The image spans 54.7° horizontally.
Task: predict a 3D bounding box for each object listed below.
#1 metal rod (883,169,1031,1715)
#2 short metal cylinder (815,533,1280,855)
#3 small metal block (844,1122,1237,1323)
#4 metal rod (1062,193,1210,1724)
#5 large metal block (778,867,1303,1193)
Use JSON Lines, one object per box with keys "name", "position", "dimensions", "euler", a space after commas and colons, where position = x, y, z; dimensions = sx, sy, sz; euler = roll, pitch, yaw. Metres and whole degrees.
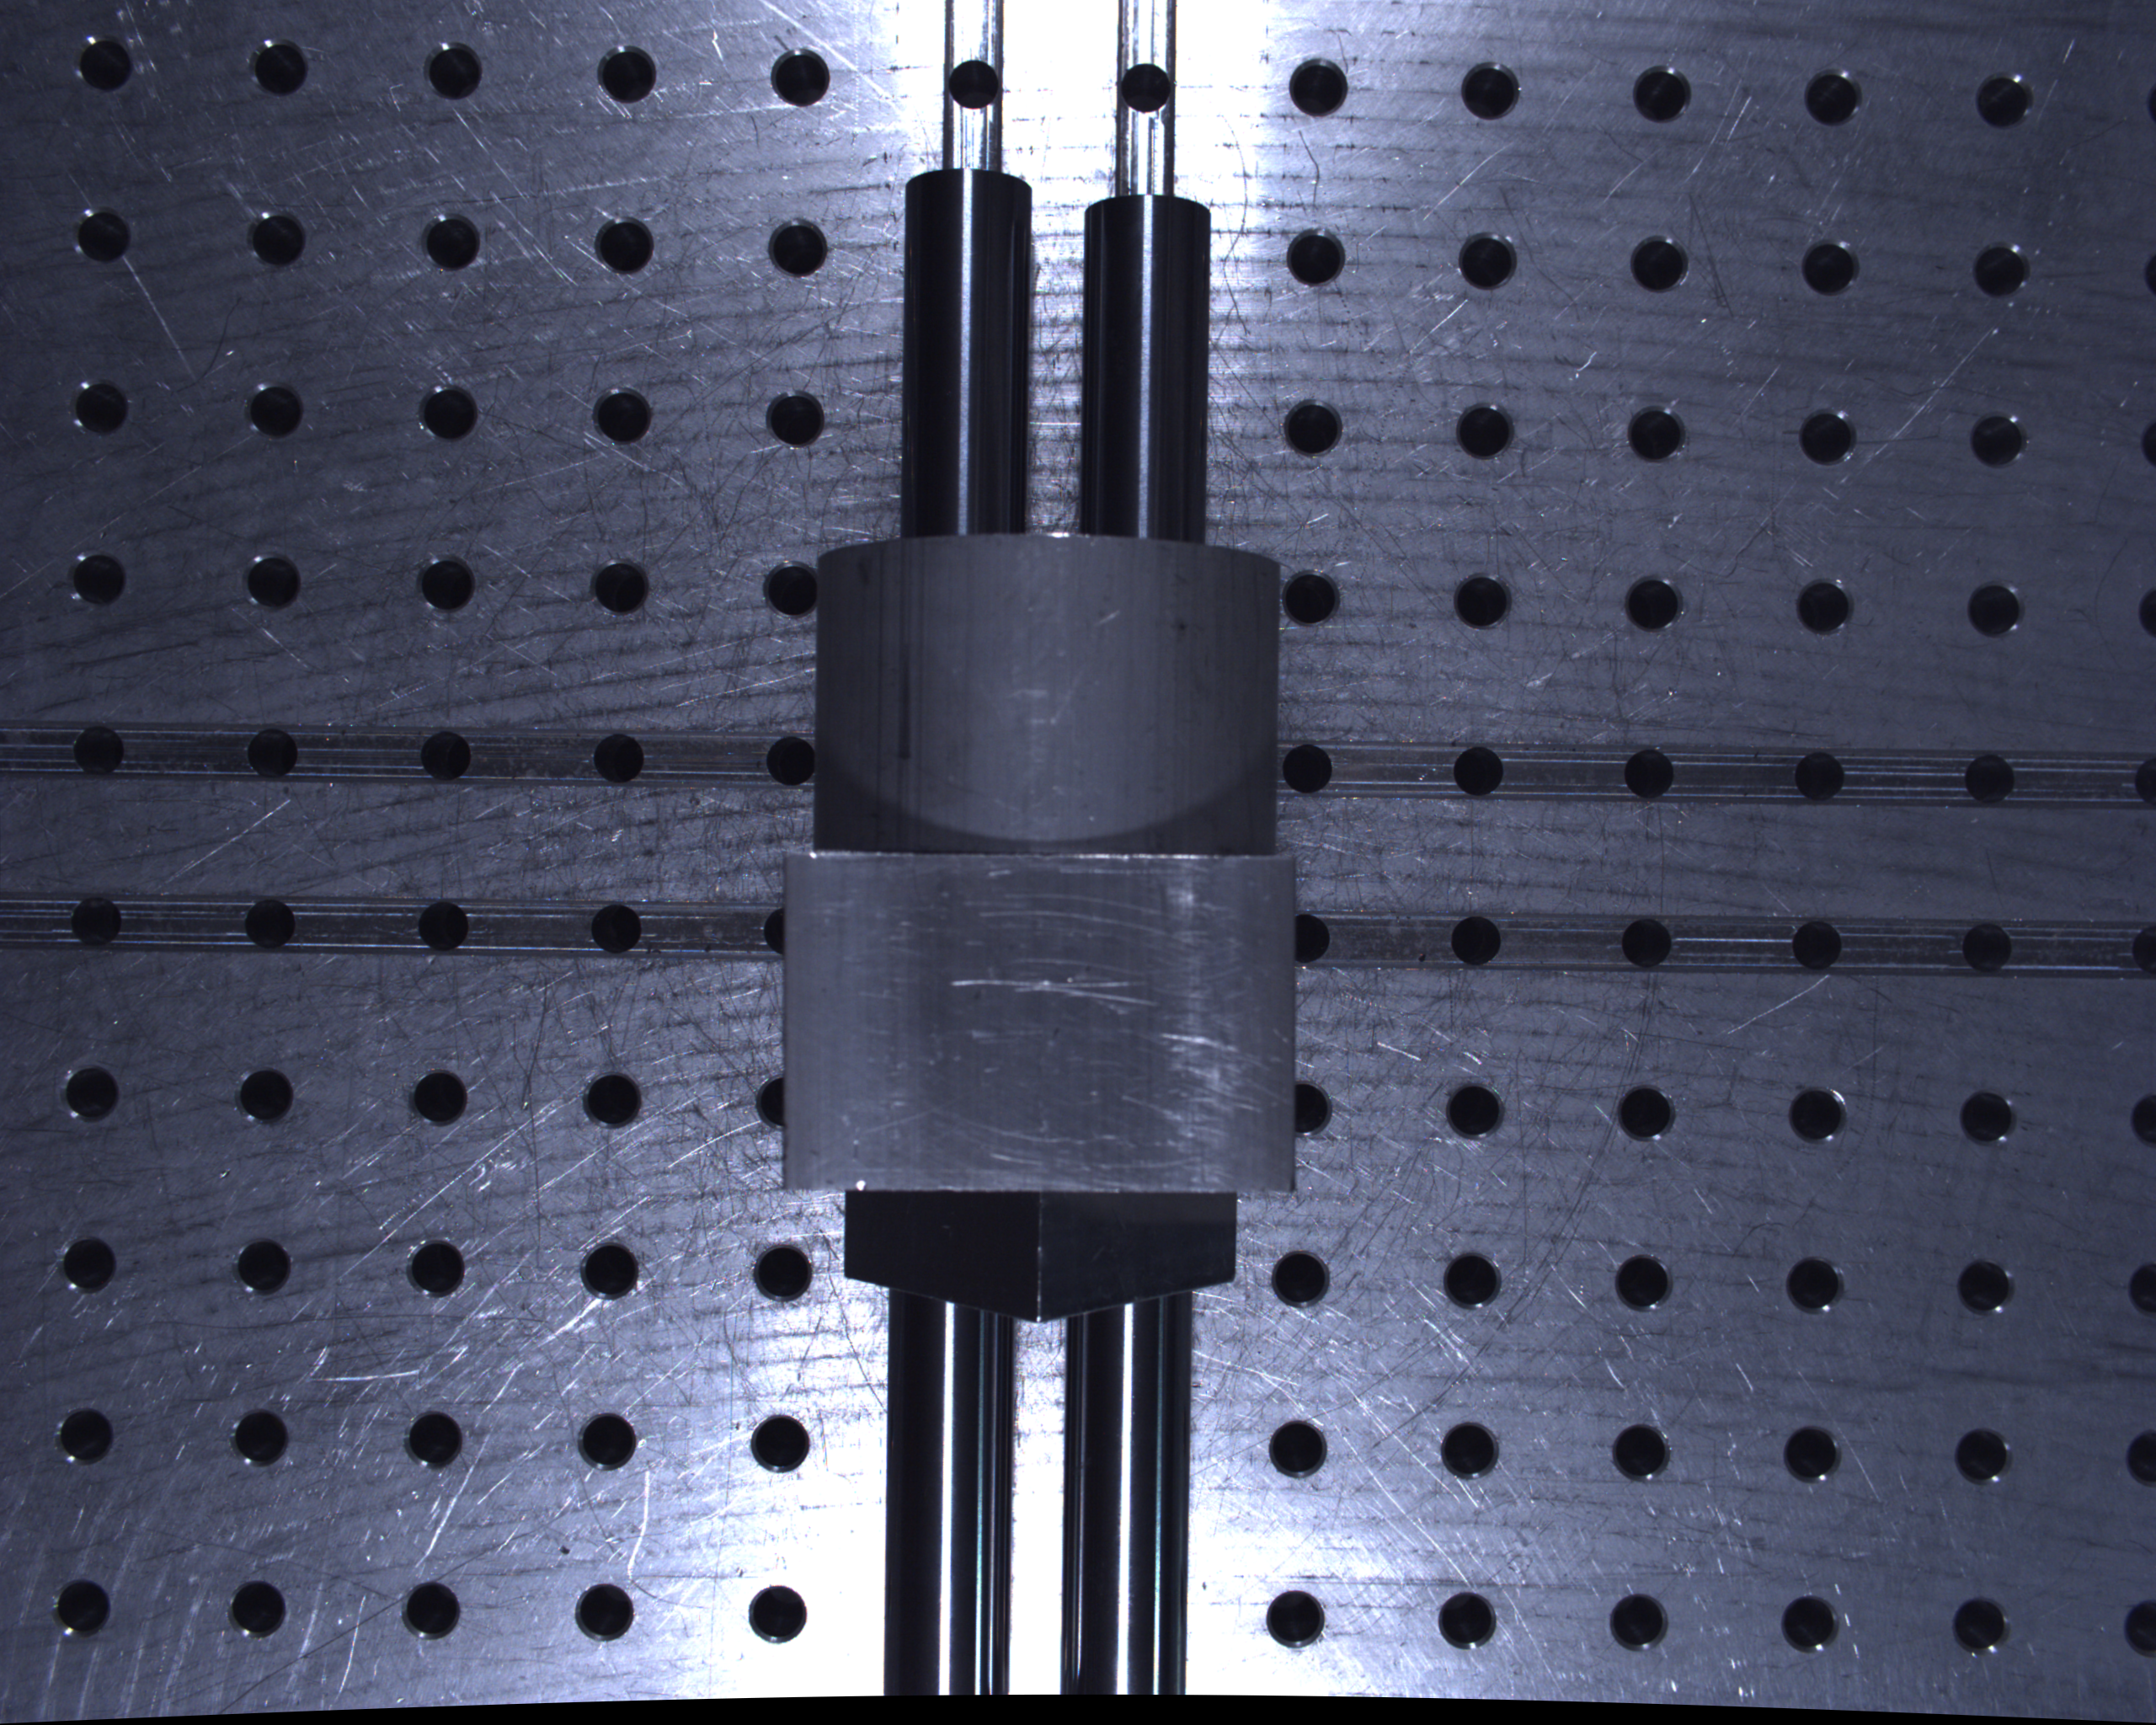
{"name": "metal rod", "position": [-0.024, 0.015, 0.414], "dimensions": [0.025, 0.025, 0.298], "euler": [1, 90, -1]}
{"name": "short metal cylinder", "position": [-0.005, -0.027, 0.365], "dimensions": [0.081, 0.080, 0.050], "euler": [1, 90, -1]}
{"name": "small metal block", "position": [-0.007, 0.063, 0.378], "dimensions": [0.050, 0.050, 0.025], "euler": [1, 90, -45]}
{"name": "metal rod", "position": [0.012, 0.020, 0.415], "dimensions": [0.025, 0.025, 0.298], "euler": [1, 90, -1]}
{"name": "large metal block", "position": [-0.006, 0.026, 0.361], "dimensions": [0.081, 0.080, 0.050], "euler": [0, 90, -1]}
